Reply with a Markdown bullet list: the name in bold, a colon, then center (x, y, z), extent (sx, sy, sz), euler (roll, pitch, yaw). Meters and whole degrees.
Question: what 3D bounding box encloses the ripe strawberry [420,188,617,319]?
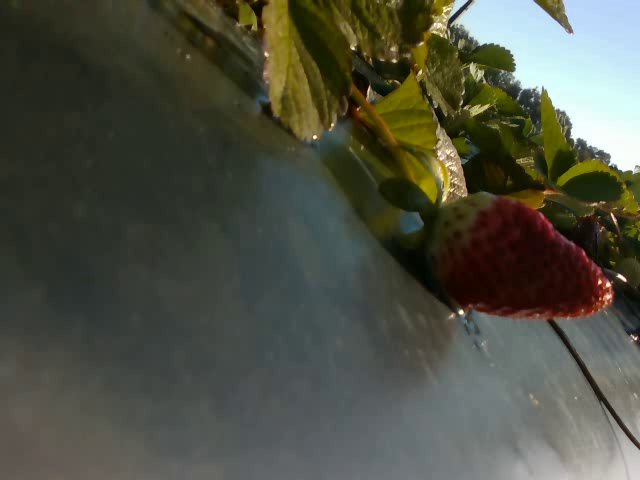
- **ripe strawberry**: center (0.040, 0.006, 0.123), extent (0.041, 0.031, 0.028), euler (22, 29, 27)
